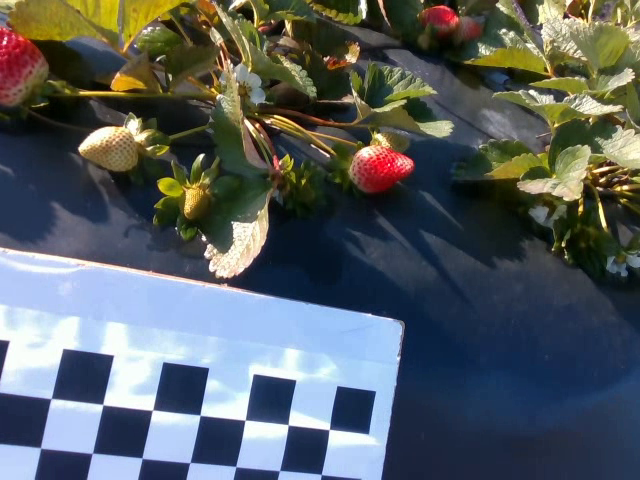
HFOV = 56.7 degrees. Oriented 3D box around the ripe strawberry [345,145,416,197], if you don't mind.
[{"bbox_3d":[0.037,-0.041,0.343,0.045,0.037,0.042,-8,-1,44],"label":"ripe strawberry"}]
